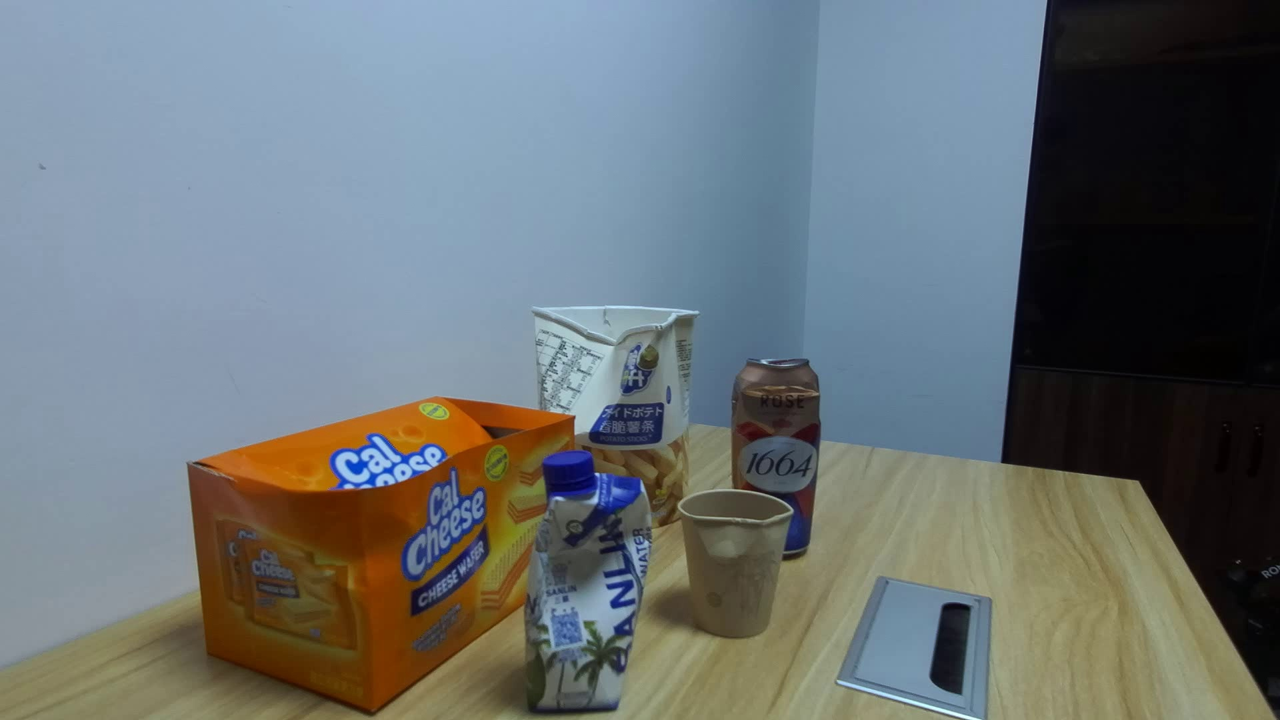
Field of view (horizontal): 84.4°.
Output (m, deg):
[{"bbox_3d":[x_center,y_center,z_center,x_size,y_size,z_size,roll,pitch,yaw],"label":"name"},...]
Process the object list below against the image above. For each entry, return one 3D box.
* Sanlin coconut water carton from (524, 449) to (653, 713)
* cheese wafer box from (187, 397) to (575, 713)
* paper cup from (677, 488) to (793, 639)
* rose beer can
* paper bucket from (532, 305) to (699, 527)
[{"bbox_3d":[-0.028,0.125,0.398,0.068,0.144,0.056,7,17,-4],"label":"Sanlin coconut water carton"},{"bbox_3d":[-0.160,0.115,0.495,0.151,0.132,0.231,6,9,25],"label":"cheese wafer box"},{"bbox_3d":[0.065,0.140,0.486,0.074,0.081,0.068,-3,8,-31],"label":"paper cup"},{"bbox_3d":[0.116,0.081,0.606,0.075,0.167,0.065,1,7,15],"label":"rose beer can"},{"bbox_3d":[-0.032,0.050,0.703,0.162,0.202,0.169,2,7,16],"label":"paper bucket"}]
